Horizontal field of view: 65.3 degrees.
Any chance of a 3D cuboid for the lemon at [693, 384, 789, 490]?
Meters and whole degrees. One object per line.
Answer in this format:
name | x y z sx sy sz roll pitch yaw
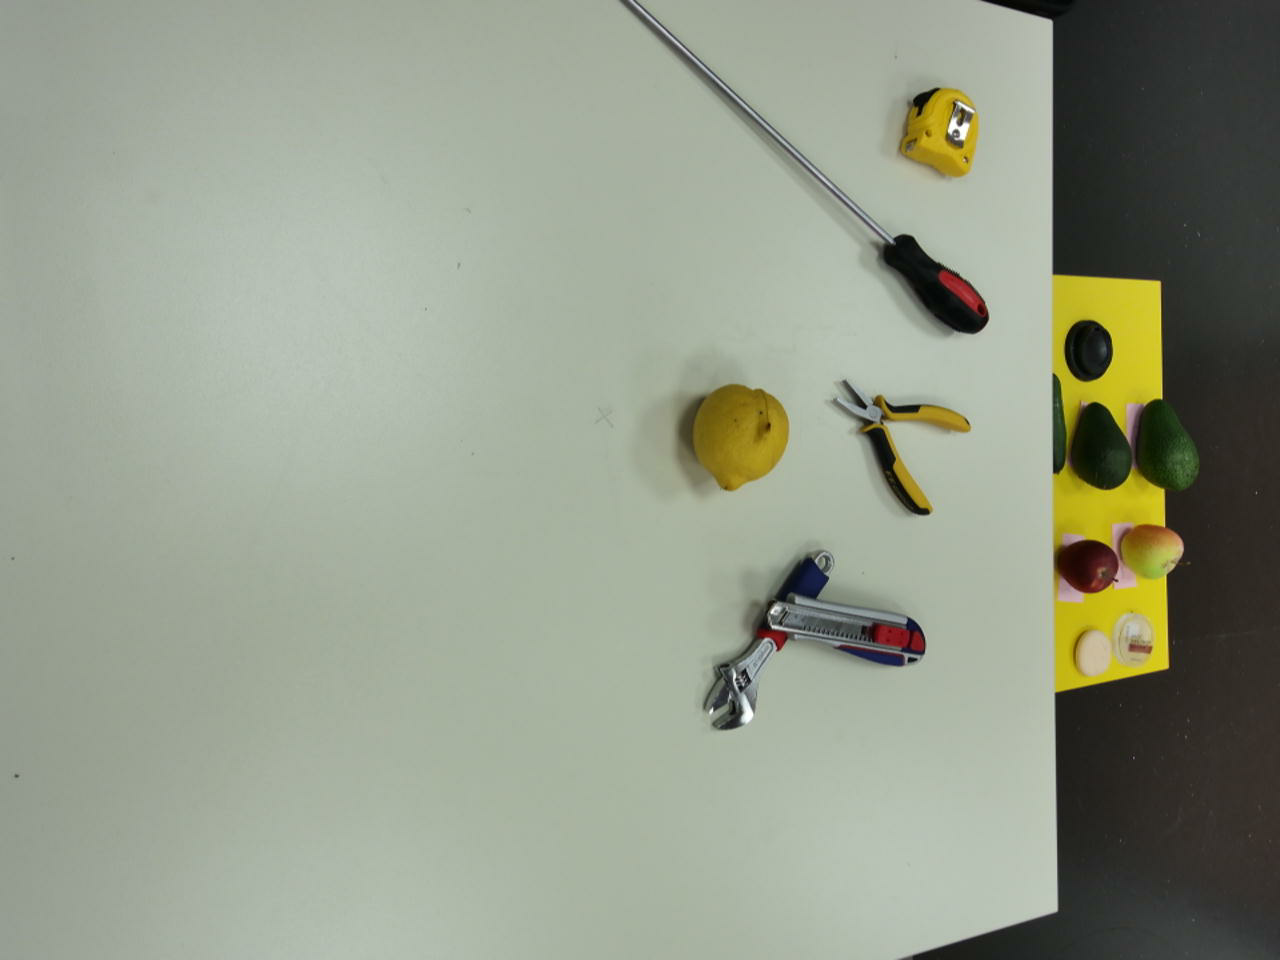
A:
lemon | 0.074 -0.034 0.716 0.071 0.071 0.070 -37 107 -23
